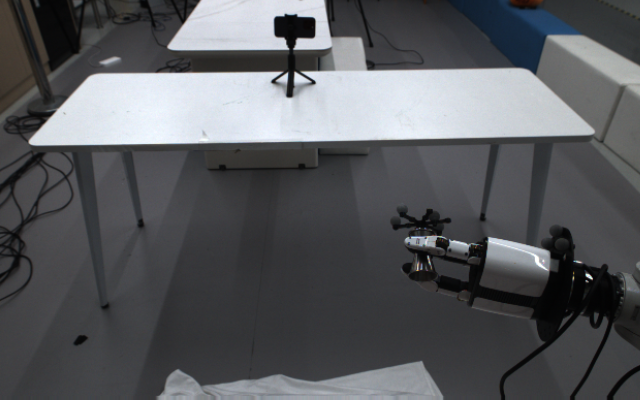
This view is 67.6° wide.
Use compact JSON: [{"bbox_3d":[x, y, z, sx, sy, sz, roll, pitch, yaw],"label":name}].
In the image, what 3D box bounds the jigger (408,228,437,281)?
[{"bbox_3d":[0.149,0.077,0.709,0.043,0.043,0.071,4,61,3],"label":"jigger"}]
